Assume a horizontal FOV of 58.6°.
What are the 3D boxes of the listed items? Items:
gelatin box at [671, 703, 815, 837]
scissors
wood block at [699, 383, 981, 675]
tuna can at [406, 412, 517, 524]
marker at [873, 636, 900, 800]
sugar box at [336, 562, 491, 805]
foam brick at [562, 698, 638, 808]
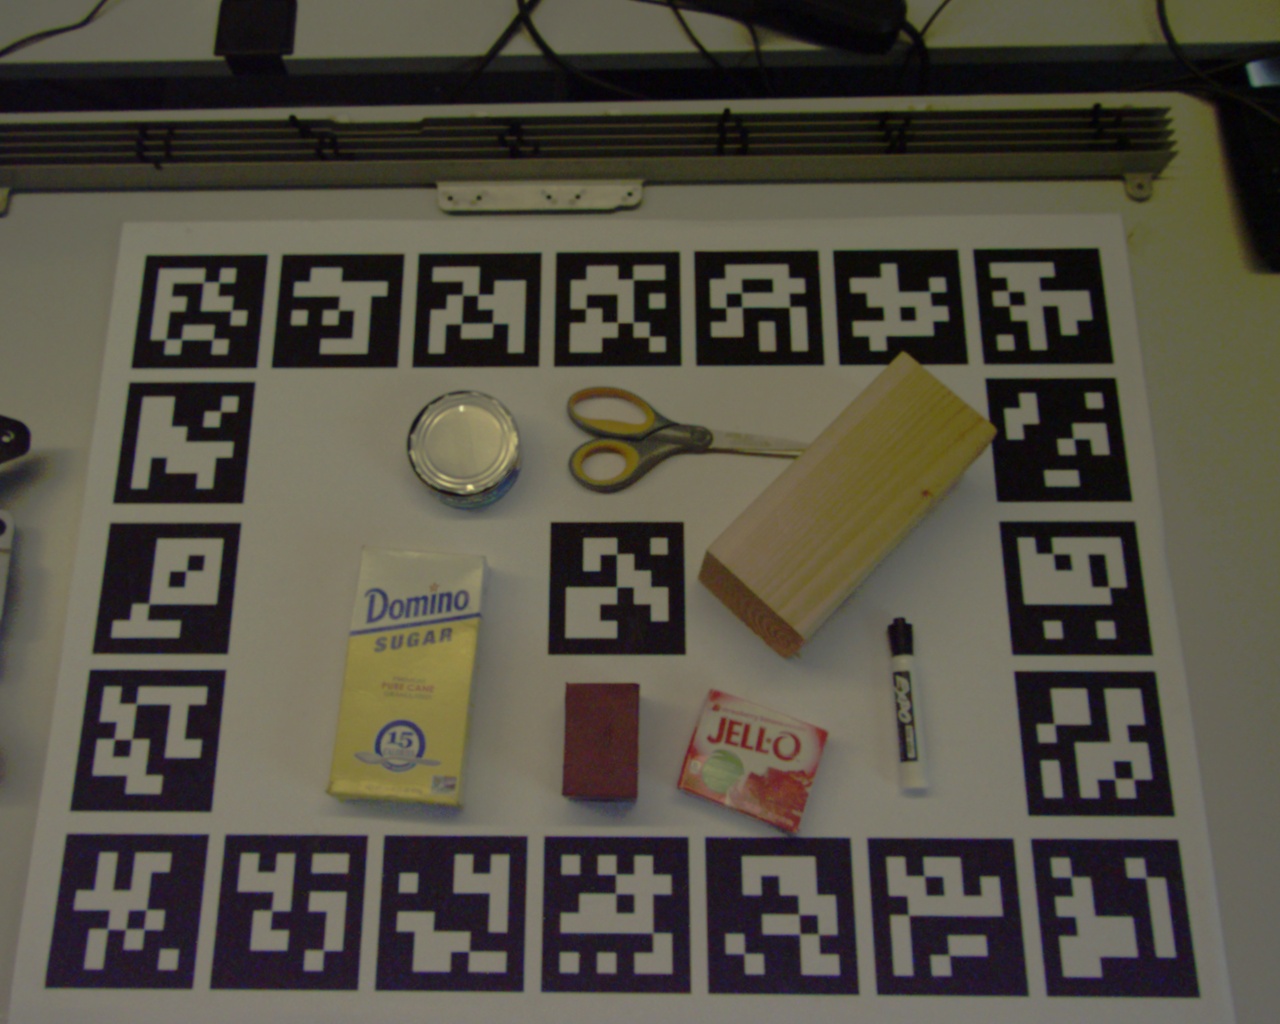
[{"bbox_3d":[0.076,0.191,0.846,0.090,0.030,0.073,19,77,7],"label":"gelatin box"},{"bbox_3d":[0.032,-0.038,0.917,0.203,0.016,0.088,7,75,6],"label":"scissors"},{"bbox_3d":[0.149,0.015,0.864,0.090,0.091,0.206,43,79,12],"label":"wood block"},{"bbox_3d":[-0.141,-0.034,0.909,0.086,0.033,0.086,-1,75,1],"label":"tuna can"},{"bbox_3d":[0.185,0.154,0.857,0.019,0.019,0.121,2,77,1],"label":"marker"},{"bbox_3d":[-0.169,0.129,0.864,0.093,0.045,0.176,5,75,2],"label":"sugar box"},{"bbox_3d":[-0.028,0.178,0.838,0.053,0.051,0.078,2,76,2],"label":"foam brick"}]
